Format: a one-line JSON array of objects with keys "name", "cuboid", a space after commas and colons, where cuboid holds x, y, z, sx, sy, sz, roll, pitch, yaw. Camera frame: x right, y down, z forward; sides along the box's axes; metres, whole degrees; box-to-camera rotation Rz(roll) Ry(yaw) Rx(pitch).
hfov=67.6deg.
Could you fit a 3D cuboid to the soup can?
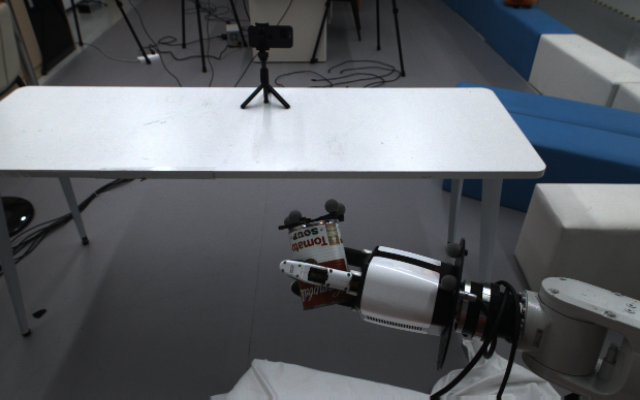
[{"name": "soup can", "cuboid": [0.003, 0.082, 0.613, 0.067, 0.067, 0.101, -10, 80, -16]}]
